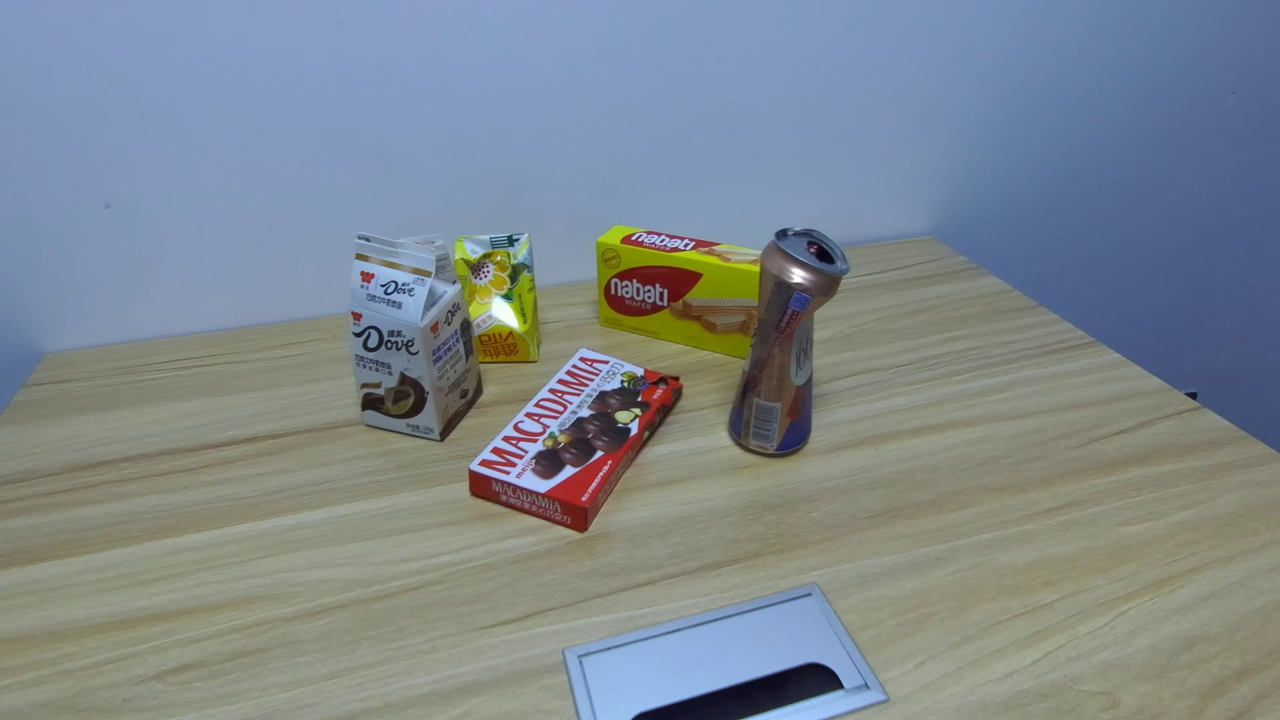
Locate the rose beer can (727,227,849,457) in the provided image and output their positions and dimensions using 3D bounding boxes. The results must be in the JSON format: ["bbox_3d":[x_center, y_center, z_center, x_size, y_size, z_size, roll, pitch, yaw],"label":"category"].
[{"bbox_3d":[0.105,-0.010,0.517,0.070,0.168,0.069,-9,34,-21],"label":"rose beer can"}]

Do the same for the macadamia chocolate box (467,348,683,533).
[{"bbox_3d":[-0.040,0.051,0.555,0.102,0.027,0.187,15,36,18],"label":"macadamia chocolate box"}]

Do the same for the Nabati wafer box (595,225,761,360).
[{"bbox_3d":[0.057,-0.059,0.657,0.202,0.093,0.042,14,34,19],"label":"Nabati wafer box"}]

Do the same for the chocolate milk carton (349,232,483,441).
[{"bbox_3d":[-0.181,-0.024,0.550,0.084,0.155,0.073,10,35,15],"label":"chocolate milk carton"}]

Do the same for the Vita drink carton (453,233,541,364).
[{"bbox_3d":[-0.128,-0.054,0.637,0.071,0.110,0.046,-2,30,0],"label":"Vita drink carton"}]
